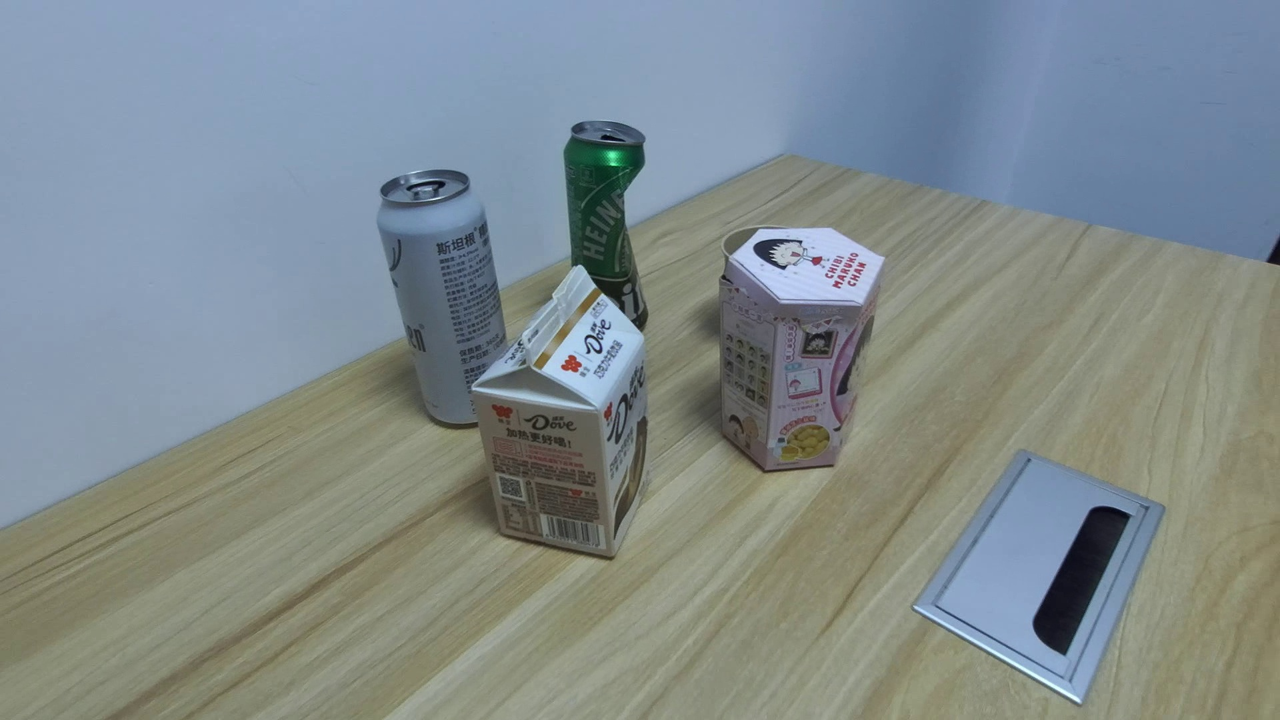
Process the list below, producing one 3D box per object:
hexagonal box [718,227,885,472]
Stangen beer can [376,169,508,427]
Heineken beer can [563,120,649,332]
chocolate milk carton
[{"bbox_3d":[0.097,-0.006,0.444,0.084,0.135,0.092,17,39,24],"label":"hexagonal box"},{"bbox_3d":[-0.128,-0.037,0.480,0.067,0.171,0.067,-3,33,2],"label":"Stangen beer can"},{"bbox_3d":[-0.024,-0.097,0.559,0.069,0.168,0.068,25,39,32],"label":"Heineken beer can"},{"bbox_3d":[-0.040,0.027,0.395,0.074,0.148,0.075,8,35,16],"label":"chocolate milk carton"}]
